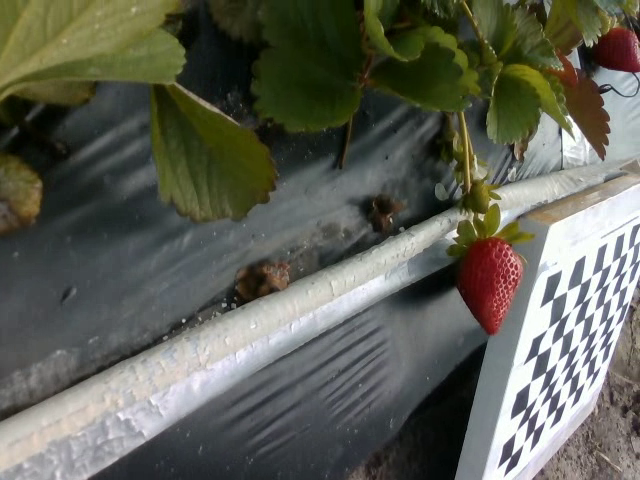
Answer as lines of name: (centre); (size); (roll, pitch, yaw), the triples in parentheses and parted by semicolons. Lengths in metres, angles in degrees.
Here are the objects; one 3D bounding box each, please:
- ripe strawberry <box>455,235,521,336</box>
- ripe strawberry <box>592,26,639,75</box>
ripe strawberry: (0.083, 0.023, 0.294); (0.030, 0.053, 0.047); (-3, -26, 28)
ripe strawberry: (0.223, -0.141, 0.450); (0.030, 0.048, 0.037); (-41, -26, 31)
